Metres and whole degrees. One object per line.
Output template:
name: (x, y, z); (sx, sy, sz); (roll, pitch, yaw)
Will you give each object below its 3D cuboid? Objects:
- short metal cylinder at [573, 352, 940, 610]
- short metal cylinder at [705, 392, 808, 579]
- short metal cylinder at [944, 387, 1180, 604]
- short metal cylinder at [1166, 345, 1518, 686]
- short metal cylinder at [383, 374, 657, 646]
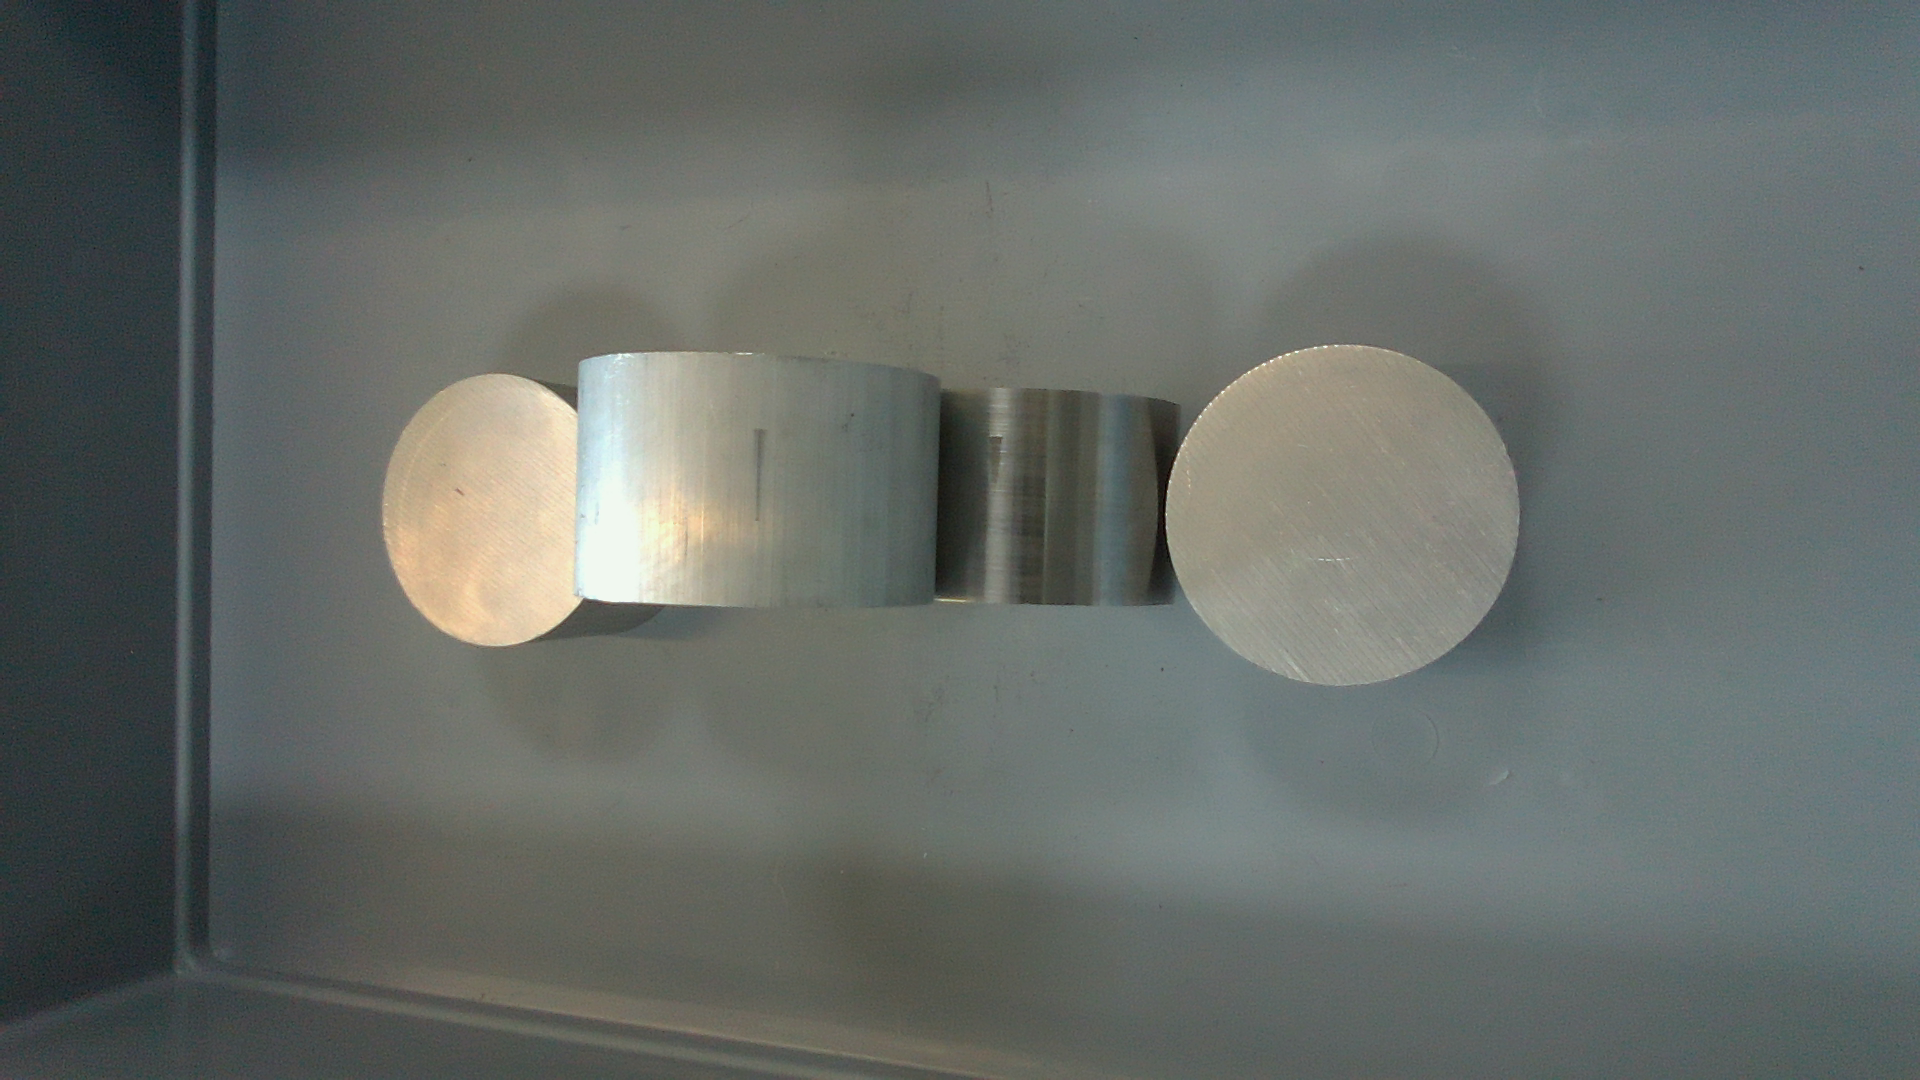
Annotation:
short metal cylinder: (-0.045, -0.012, 0.308); (0.080, 0.080, 0.050); (2, 90, 20)
short metal cylinder: (-0.059, -0.013, 0.386); (0.080, 0.080, 0.050); (2, 90, 20)
short metal cylinder: (0.017, -0.011, 0.359); (0.080, 0.080, 0.050); (2, 90, 20)
short metal cylinder: (0.097, -0.006, 0.346); (0.080, 0.050, 0.080); (0, 90, 20)
short metal cylinder: (-0.129, -0.009, 0.428); (0.080, 0.050, 0.080); (0, 90, 20)
